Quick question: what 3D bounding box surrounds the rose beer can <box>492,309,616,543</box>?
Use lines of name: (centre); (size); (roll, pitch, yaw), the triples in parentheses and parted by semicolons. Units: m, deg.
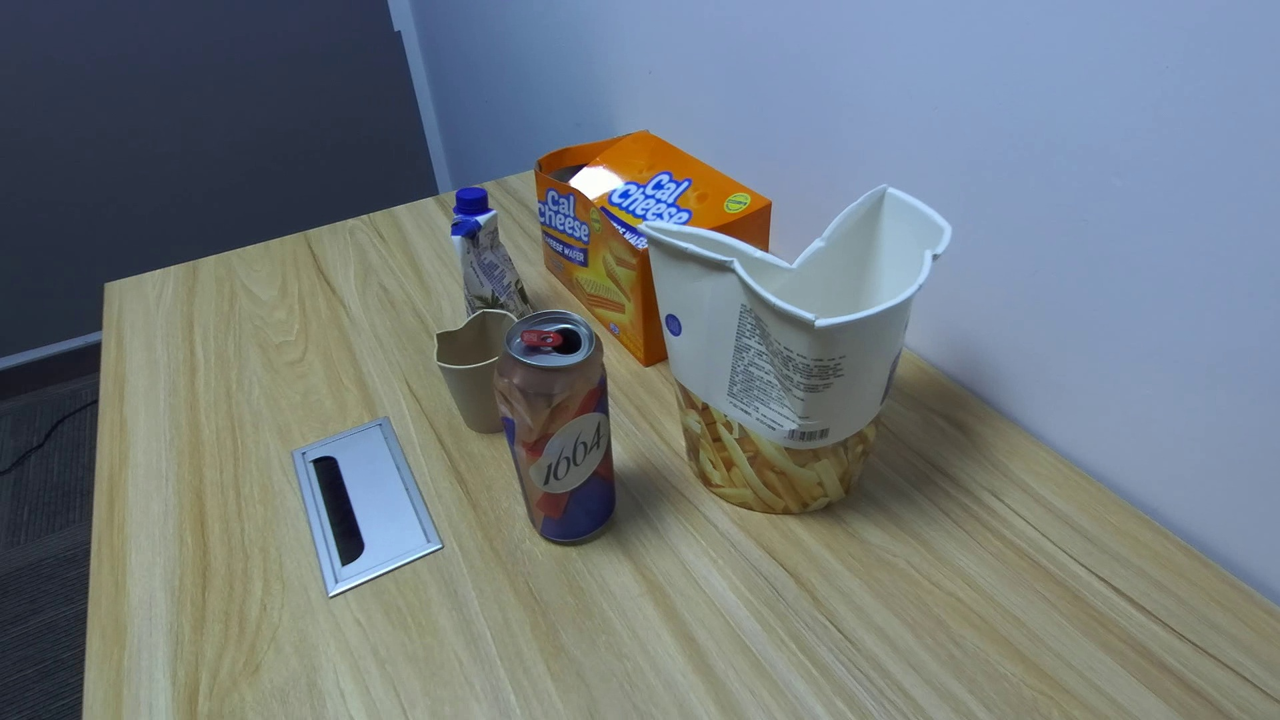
rose beer can: (-0.052, 0.051, 0.477); (0.076, 0.167, 0.065); (-28, 46, -32)

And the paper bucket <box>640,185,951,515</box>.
paper bucket: (0.113, -0.012, 0.514); (0.163, 0.202, 0.168); (-29, 48, -29)

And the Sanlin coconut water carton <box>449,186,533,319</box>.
Sanlin coconut water carton: (-0.155, -0.088, 0.674); (0.056, 0.145, 0.068); (12, 48, 30)

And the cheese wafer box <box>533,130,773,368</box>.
cheese wafer box: (0.004, -0.123, 0.714); (0.152, 0.132, 0.229); (-24, 44, -22)

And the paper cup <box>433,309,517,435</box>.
paper cup: (-0.131, 0.012, 0.602); (0.069, 0.081, 0.073); (-9, 41, -8)
